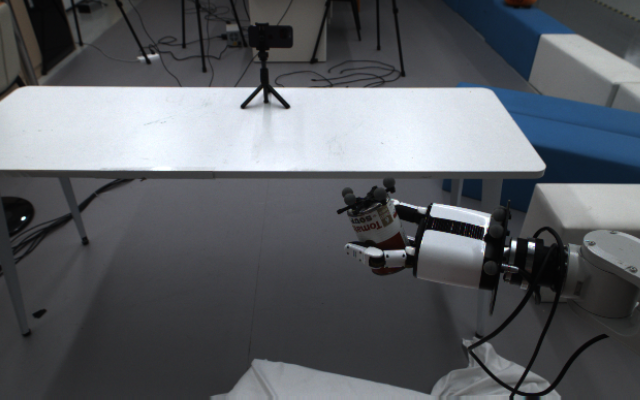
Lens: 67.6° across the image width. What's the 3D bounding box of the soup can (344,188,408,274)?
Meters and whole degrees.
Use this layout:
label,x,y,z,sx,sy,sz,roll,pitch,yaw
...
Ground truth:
label,x,y,z,sx,sy,sz,roll,pitch,yaw
soup can,0.090,0.048,0.700,0.067,0.101,0.067,-23,16,7
